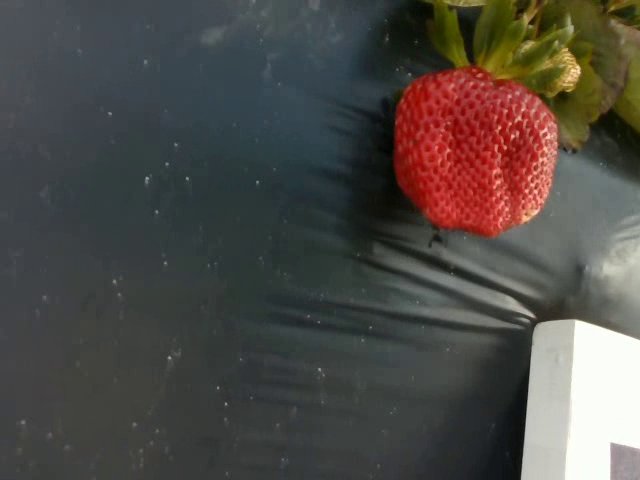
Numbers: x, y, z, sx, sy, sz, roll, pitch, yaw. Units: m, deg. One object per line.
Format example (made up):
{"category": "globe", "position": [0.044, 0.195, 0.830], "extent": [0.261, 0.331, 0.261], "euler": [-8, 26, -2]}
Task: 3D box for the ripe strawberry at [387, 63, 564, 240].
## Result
{"category": "ripe strawberry", "position": [0.056, -0.032, 0.206], "extent": [0.067, 0.075, 0.039], "euler": [21, -22, -16]}
